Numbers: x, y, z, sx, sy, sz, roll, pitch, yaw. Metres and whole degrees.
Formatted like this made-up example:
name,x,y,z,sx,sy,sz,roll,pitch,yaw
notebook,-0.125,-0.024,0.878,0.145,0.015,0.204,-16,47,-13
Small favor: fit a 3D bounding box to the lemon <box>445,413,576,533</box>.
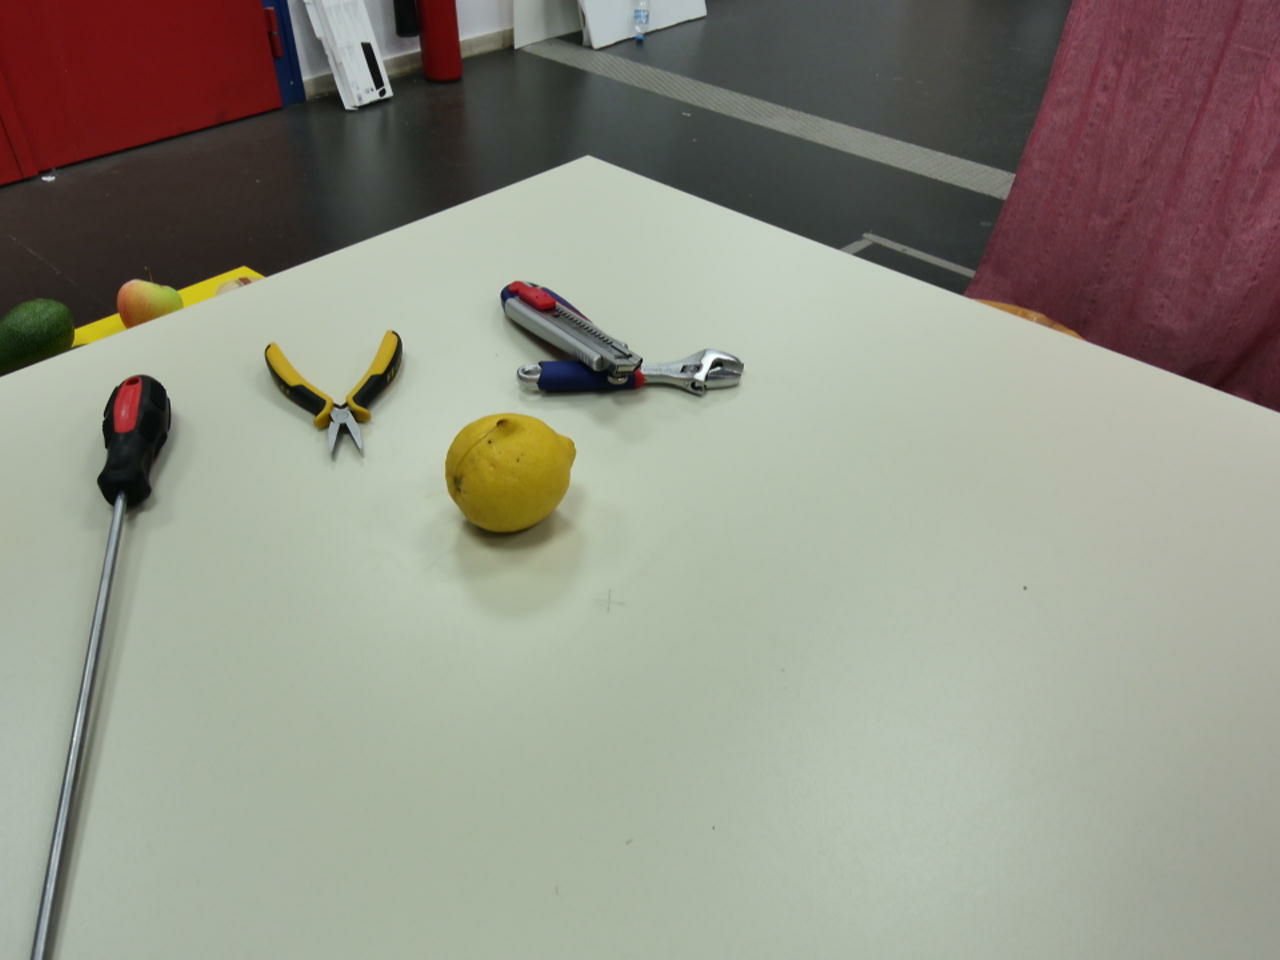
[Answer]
name,x,y,z,sx,sy,sz,roll,pitch,yaw
lemon,-0.076,-0.007,0.573,0.071,0.071,0.070,5,38,5
